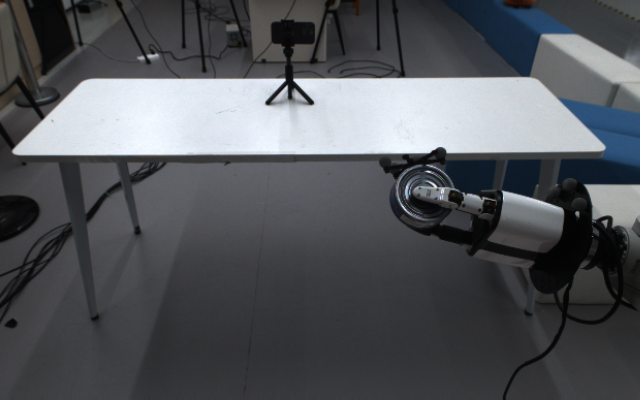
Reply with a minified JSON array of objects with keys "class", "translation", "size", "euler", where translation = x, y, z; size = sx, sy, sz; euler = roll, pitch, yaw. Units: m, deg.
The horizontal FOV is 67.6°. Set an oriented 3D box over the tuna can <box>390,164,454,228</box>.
[{"class":"tuna can","translation":[0.143,-0.008,0.665],"size":[0.085,0.034,0.085],"euler":[0,72,-1]}]
